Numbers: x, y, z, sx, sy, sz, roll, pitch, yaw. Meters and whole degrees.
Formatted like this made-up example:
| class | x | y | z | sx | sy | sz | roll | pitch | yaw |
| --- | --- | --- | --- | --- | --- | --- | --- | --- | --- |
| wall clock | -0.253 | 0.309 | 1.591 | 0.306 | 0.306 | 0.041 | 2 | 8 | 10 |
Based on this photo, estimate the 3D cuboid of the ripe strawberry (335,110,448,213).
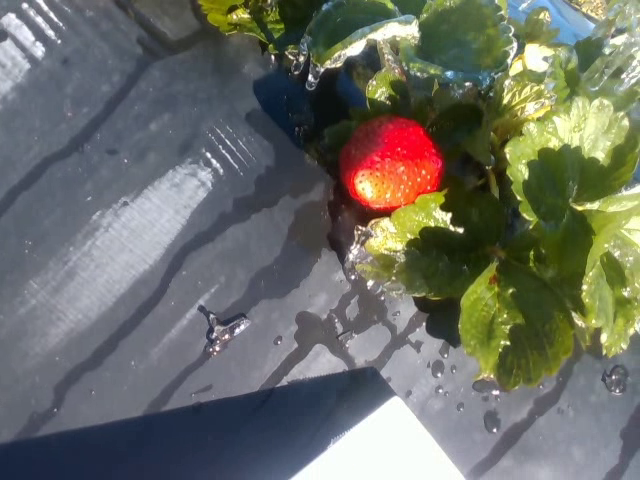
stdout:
| class | x | y | z | sx | sy | sz | roll | pitch | yaw |
| --- | --- | --- | --- | --- | --- | --- | --- | --- | --- |
| ripe strawberry | 0.022 | -0.025 | 0.203 | 0.042 | 0.047 | 0.052 | 45 | 25 | 12 |
